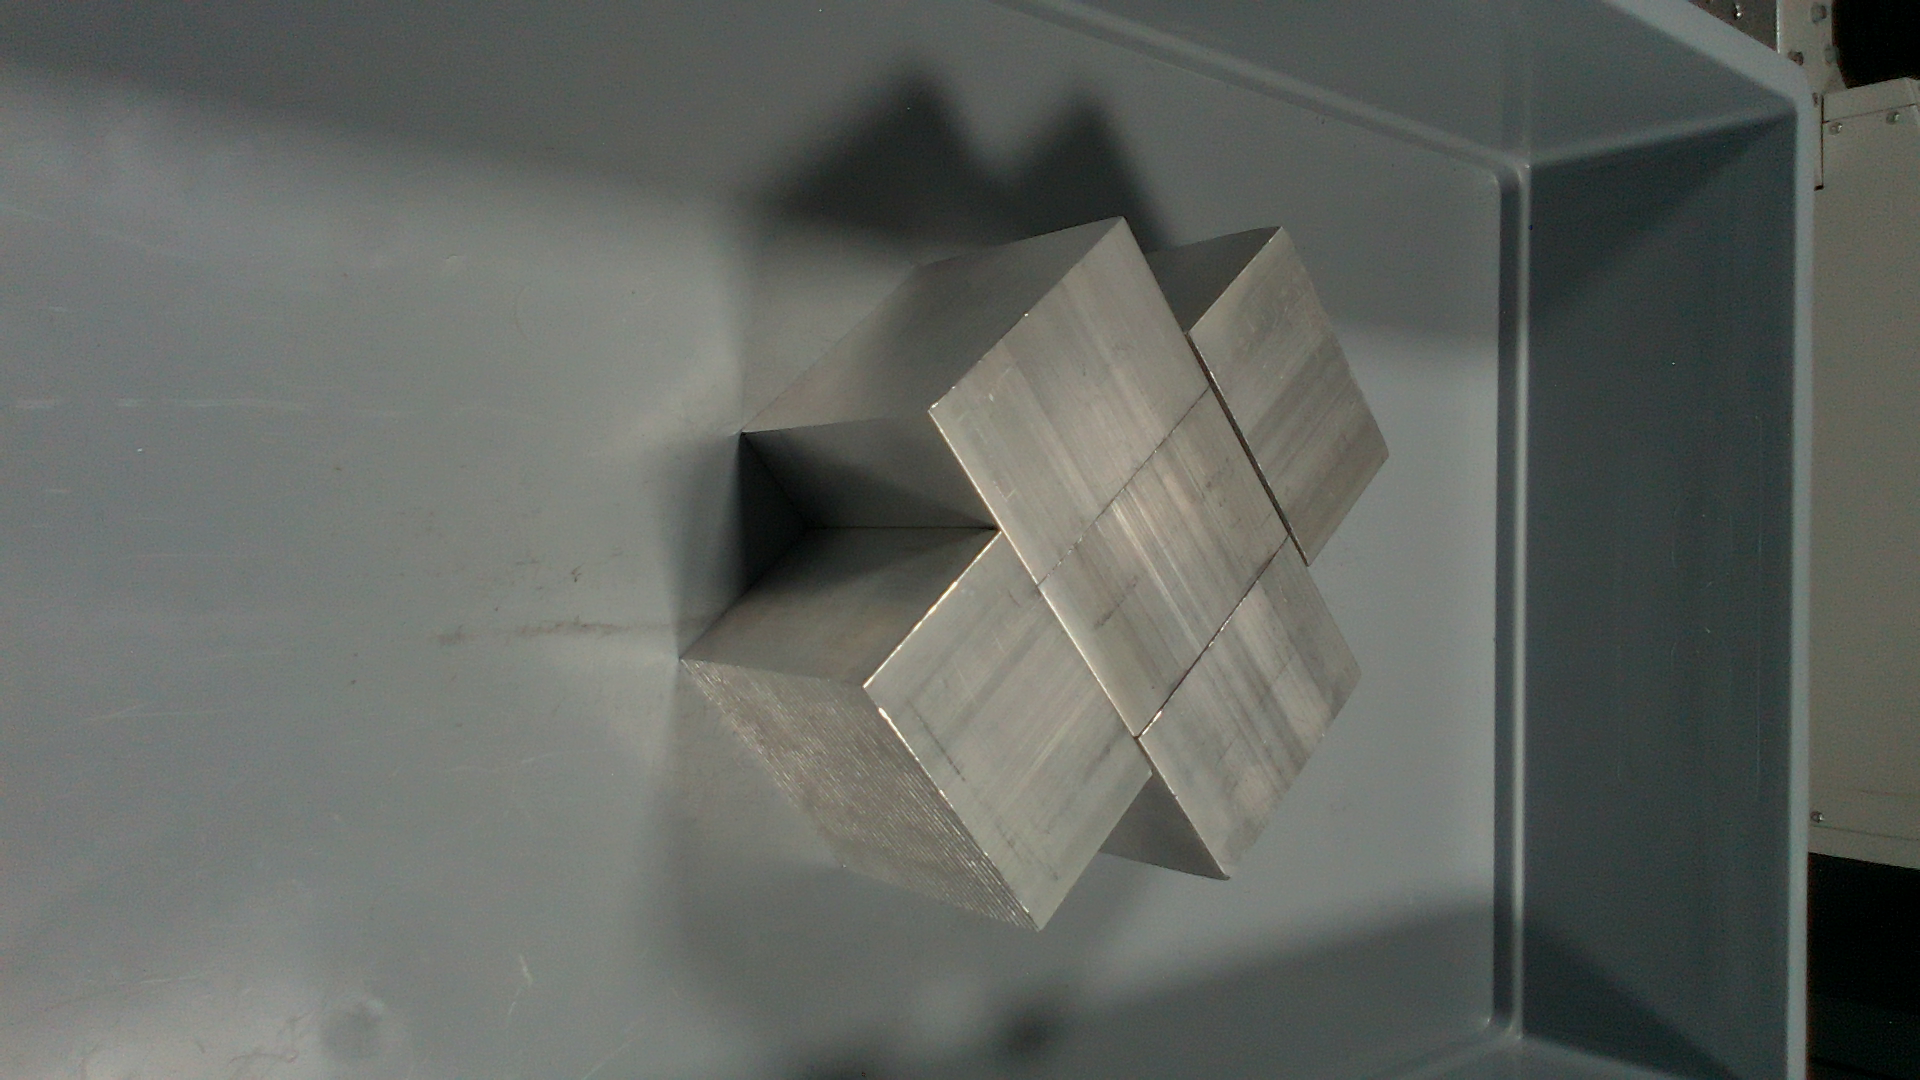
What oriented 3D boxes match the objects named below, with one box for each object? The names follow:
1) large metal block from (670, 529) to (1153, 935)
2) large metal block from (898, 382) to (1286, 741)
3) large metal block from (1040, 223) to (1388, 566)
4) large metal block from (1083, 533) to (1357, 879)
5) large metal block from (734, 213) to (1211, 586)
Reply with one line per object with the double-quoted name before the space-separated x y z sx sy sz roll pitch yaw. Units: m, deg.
"large metal block" -0.012 0.044 0.343 0.050 0.080 0.080 -48 119 -29
"large metal block" 0.028 0.004 0.376 0.080 0.080 0.050 -48 118 -29
"large metal block" 0.066 -0.039 0.408 0.050 0.080 0.080 -48 119 -29
"large metal block" 0.053 0.043 0.397 0.080 0.080 0.050 -48 118 -29
"large metal block" 0.003 -0.034 0.354 0.080 0.080 0.050 -48 118 -29
